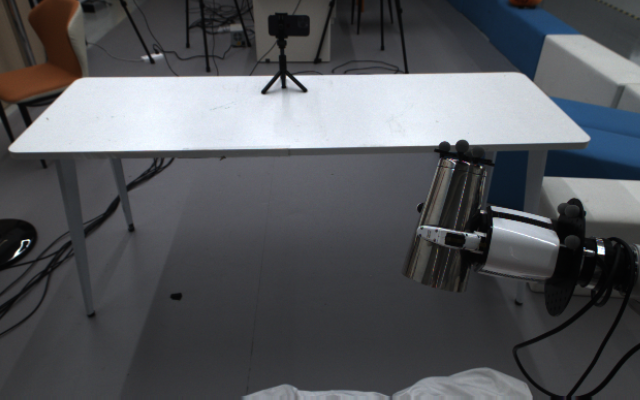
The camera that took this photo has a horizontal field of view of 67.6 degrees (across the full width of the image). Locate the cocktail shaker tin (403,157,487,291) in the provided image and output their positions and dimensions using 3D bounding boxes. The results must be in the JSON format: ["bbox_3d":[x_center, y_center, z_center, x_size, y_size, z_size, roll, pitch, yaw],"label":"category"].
[{"bbox_3d":[0.180,0.031,0.677,0.093,0.170,0.093,13,4,-1],"label":"cocktail shaker tin"}]
